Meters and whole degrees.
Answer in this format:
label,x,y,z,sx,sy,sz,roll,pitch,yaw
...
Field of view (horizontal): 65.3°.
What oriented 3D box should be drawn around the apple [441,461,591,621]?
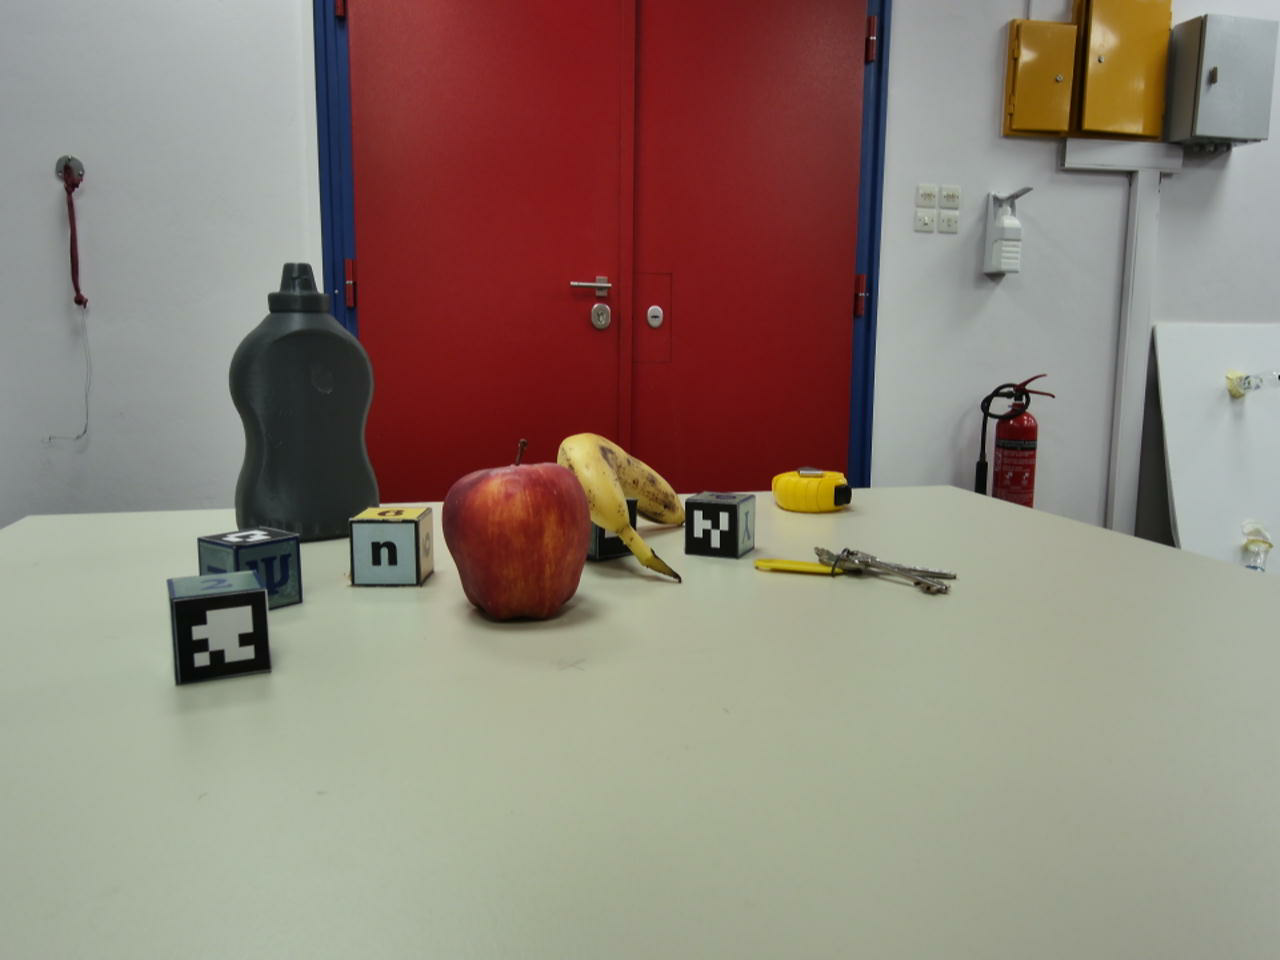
label,x,y,z,sx,sy,sz,roll,pitch,yaw
apple,-0.065,0.024,0.520,0.083,0.090,0.083,0,6,0
